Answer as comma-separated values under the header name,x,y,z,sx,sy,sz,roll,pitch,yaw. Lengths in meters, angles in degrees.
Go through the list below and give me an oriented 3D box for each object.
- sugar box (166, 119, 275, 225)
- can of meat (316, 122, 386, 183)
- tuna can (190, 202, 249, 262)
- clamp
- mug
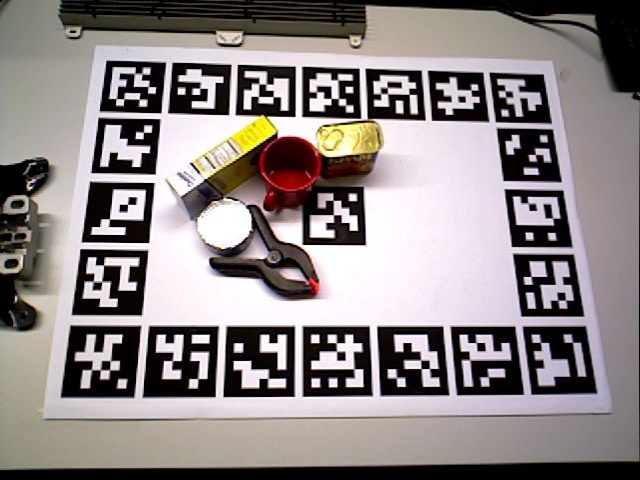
name,x,y,z,sx,sy,sz,roll,pitch,yaw
sugar box,-0.147,-0.101,0.816,0.174,0.094,0.045,-38,77,-15
can of meat,0.043,-0.134,0.843,0.101,0.085,0.057,-8,72,-8
tuna can,-0.149,-0.010,0.813,0.085,0.034,0.085,1,75,-3
clamp,-0.071,0.044,0.807,0.165,0.037,0.120,34,70,2
mug,-0.054,-0.088,0.815,0.093,0.082,0.116,24,74,3
